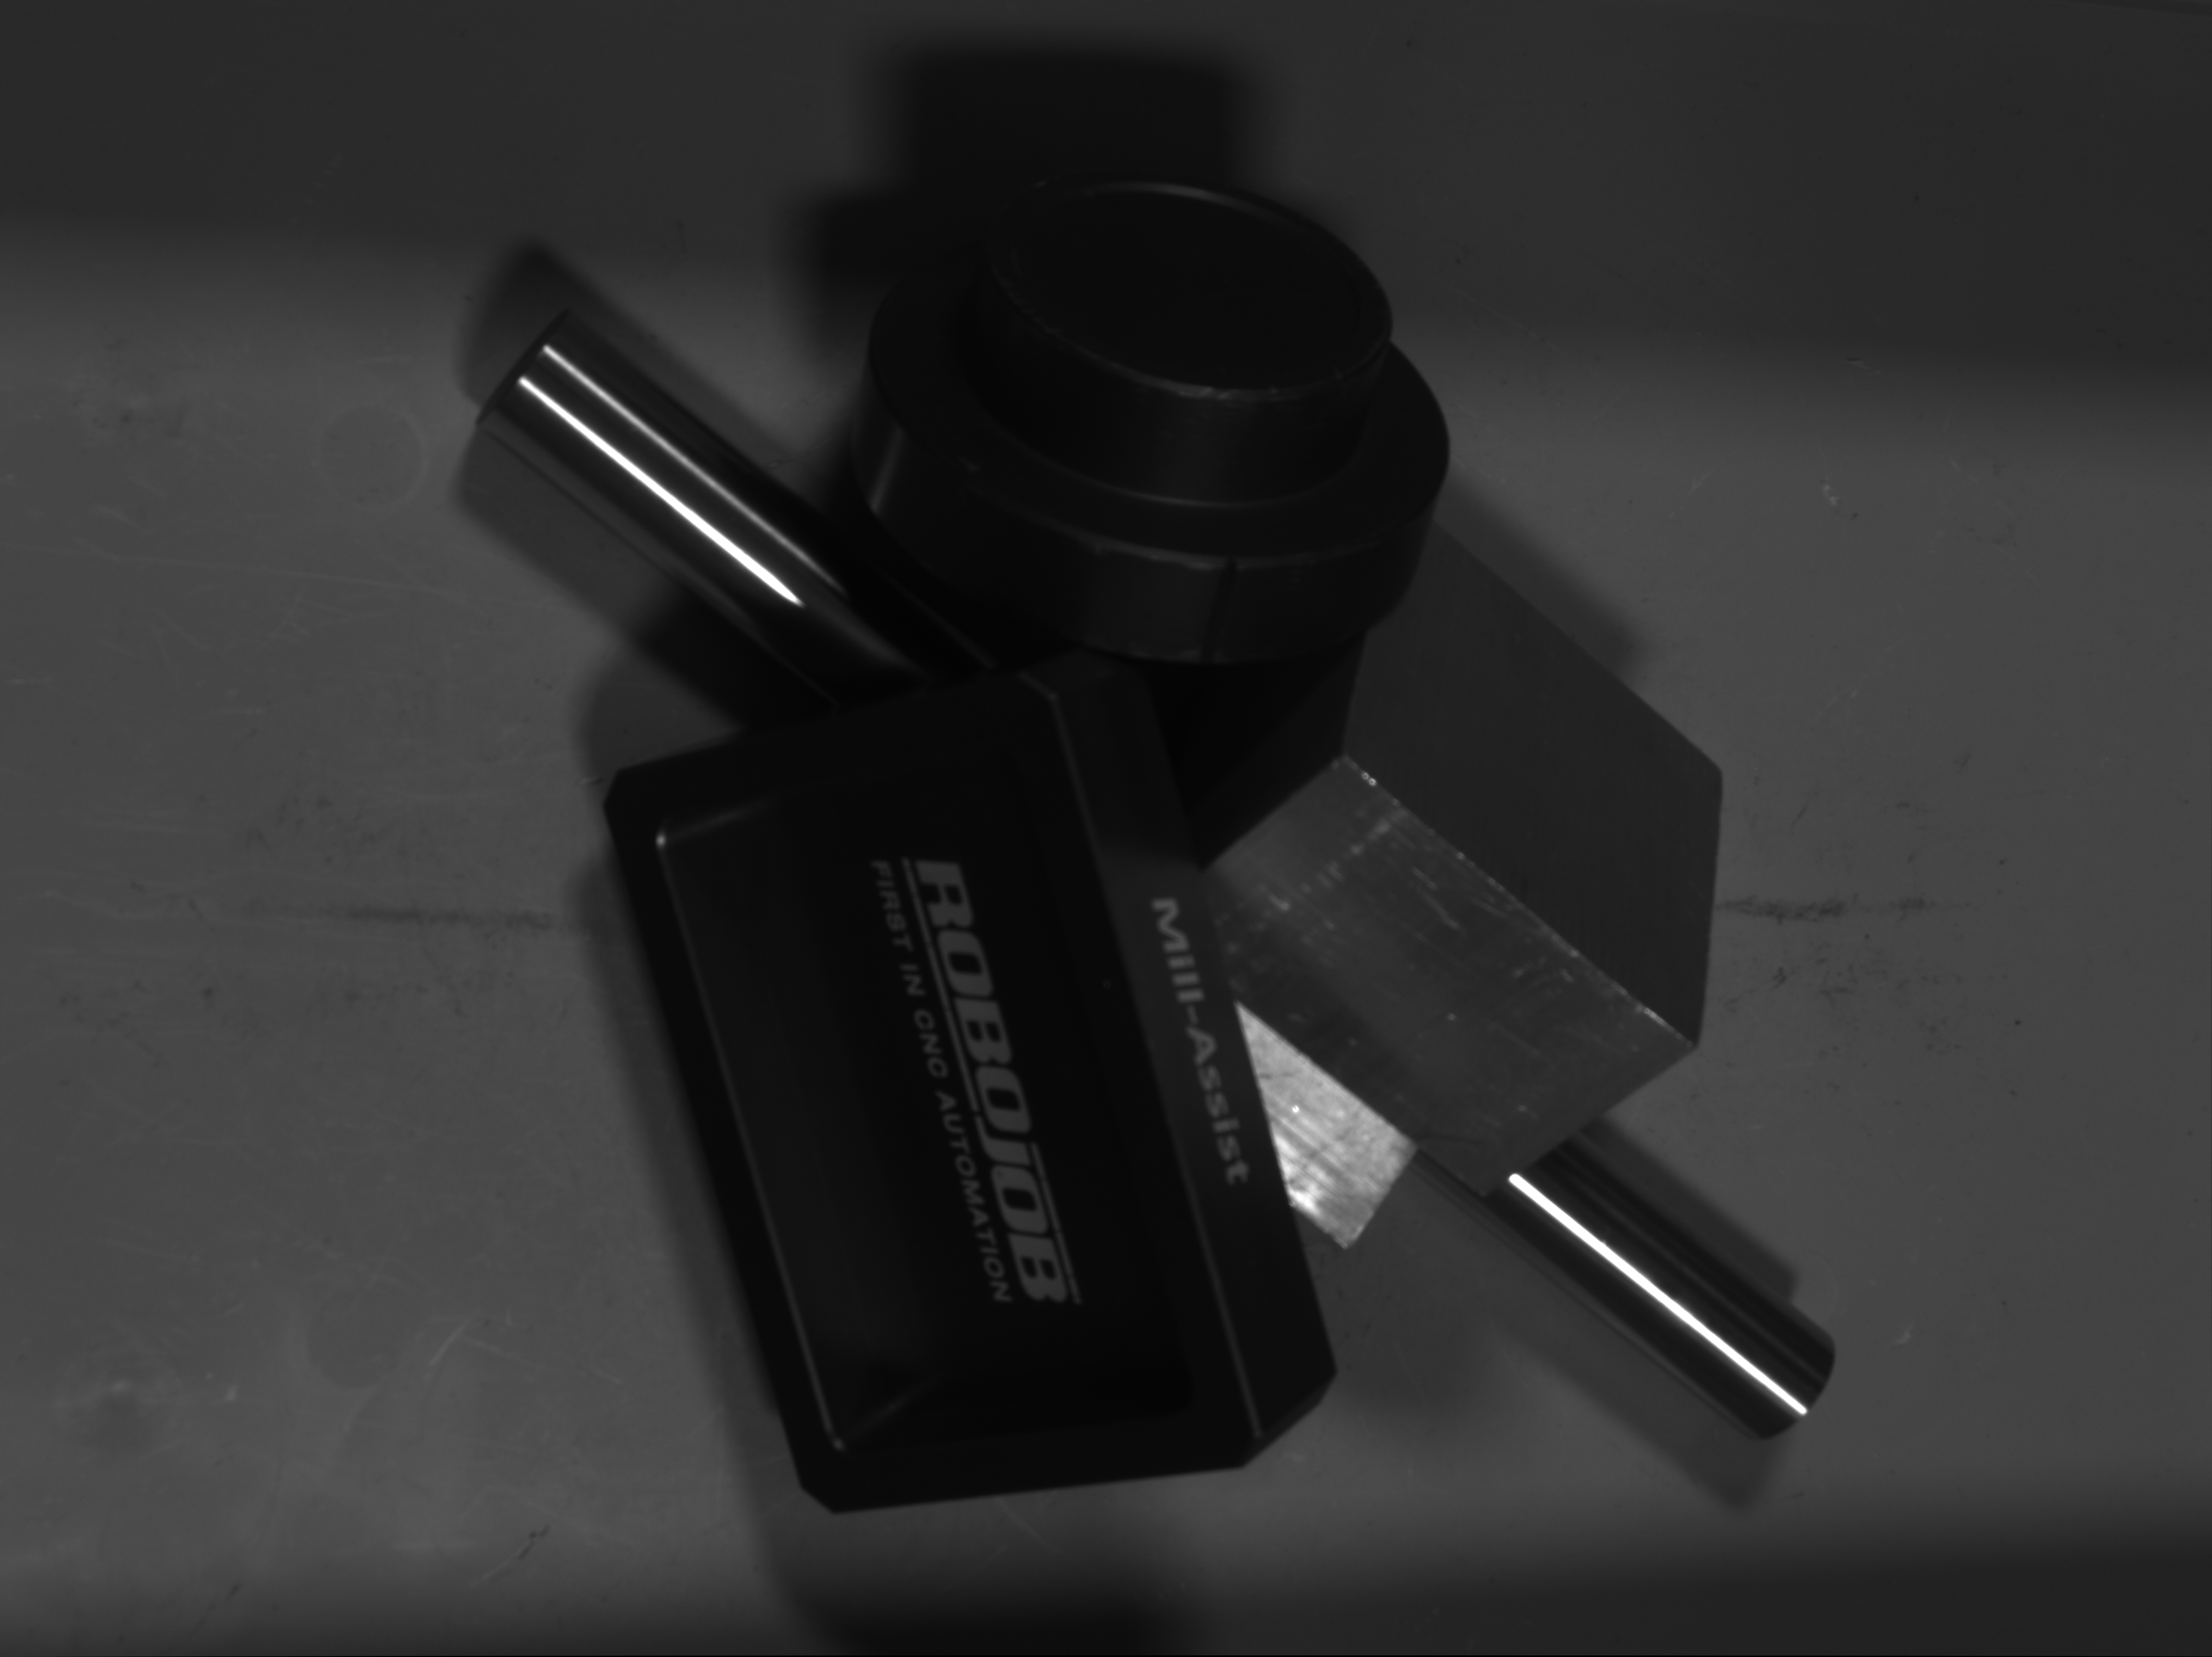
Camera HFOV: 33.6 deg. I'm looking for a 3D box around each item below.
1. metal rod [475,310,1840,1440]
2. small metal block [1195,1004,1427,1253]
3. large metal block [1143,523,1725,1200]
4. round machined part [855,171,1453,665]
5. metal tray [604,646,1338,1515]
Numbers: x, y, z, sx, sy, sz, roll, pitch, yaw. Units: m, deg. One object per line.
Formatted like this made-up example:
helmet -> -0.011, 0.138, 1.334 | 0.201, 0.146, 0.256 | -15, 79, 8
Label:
metal rod -> 0.016, 0.014, 0.648 | 0.300, 0.025, 0.025 | 39, 78, -16
small metal block -> 0.022, 0.046, 0.636 | 0.050, 0.050, 0.025 | 40, 77, -15
large metal block -> 0.058, 0.002, 0.629 | 0.080, 0.050, 0.080 | 39, 35, -16
round machined part -> 0.010, -0.073, 0.605 | 0.098, 0.098, 0.042 | -2, 131, -20
metal tray -> -0.023, 0.043, 0.601 | 0.030, 0.090, 0.130 | -24, 100, -59
